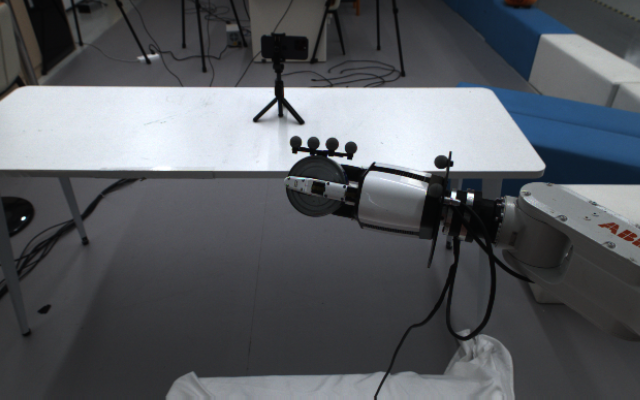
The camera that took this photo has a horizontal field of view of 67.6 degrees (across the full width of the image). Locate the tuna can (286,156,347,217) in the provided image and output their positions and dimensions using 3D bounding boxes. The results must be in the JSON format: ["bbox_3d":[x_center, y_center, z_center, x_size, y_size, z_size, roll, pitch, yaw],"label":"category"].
[{"bbox_3d":[-0.002,-0.021,0.680,0.085,0.085,0.034,11,2,13],"label":"tuna can"}]
